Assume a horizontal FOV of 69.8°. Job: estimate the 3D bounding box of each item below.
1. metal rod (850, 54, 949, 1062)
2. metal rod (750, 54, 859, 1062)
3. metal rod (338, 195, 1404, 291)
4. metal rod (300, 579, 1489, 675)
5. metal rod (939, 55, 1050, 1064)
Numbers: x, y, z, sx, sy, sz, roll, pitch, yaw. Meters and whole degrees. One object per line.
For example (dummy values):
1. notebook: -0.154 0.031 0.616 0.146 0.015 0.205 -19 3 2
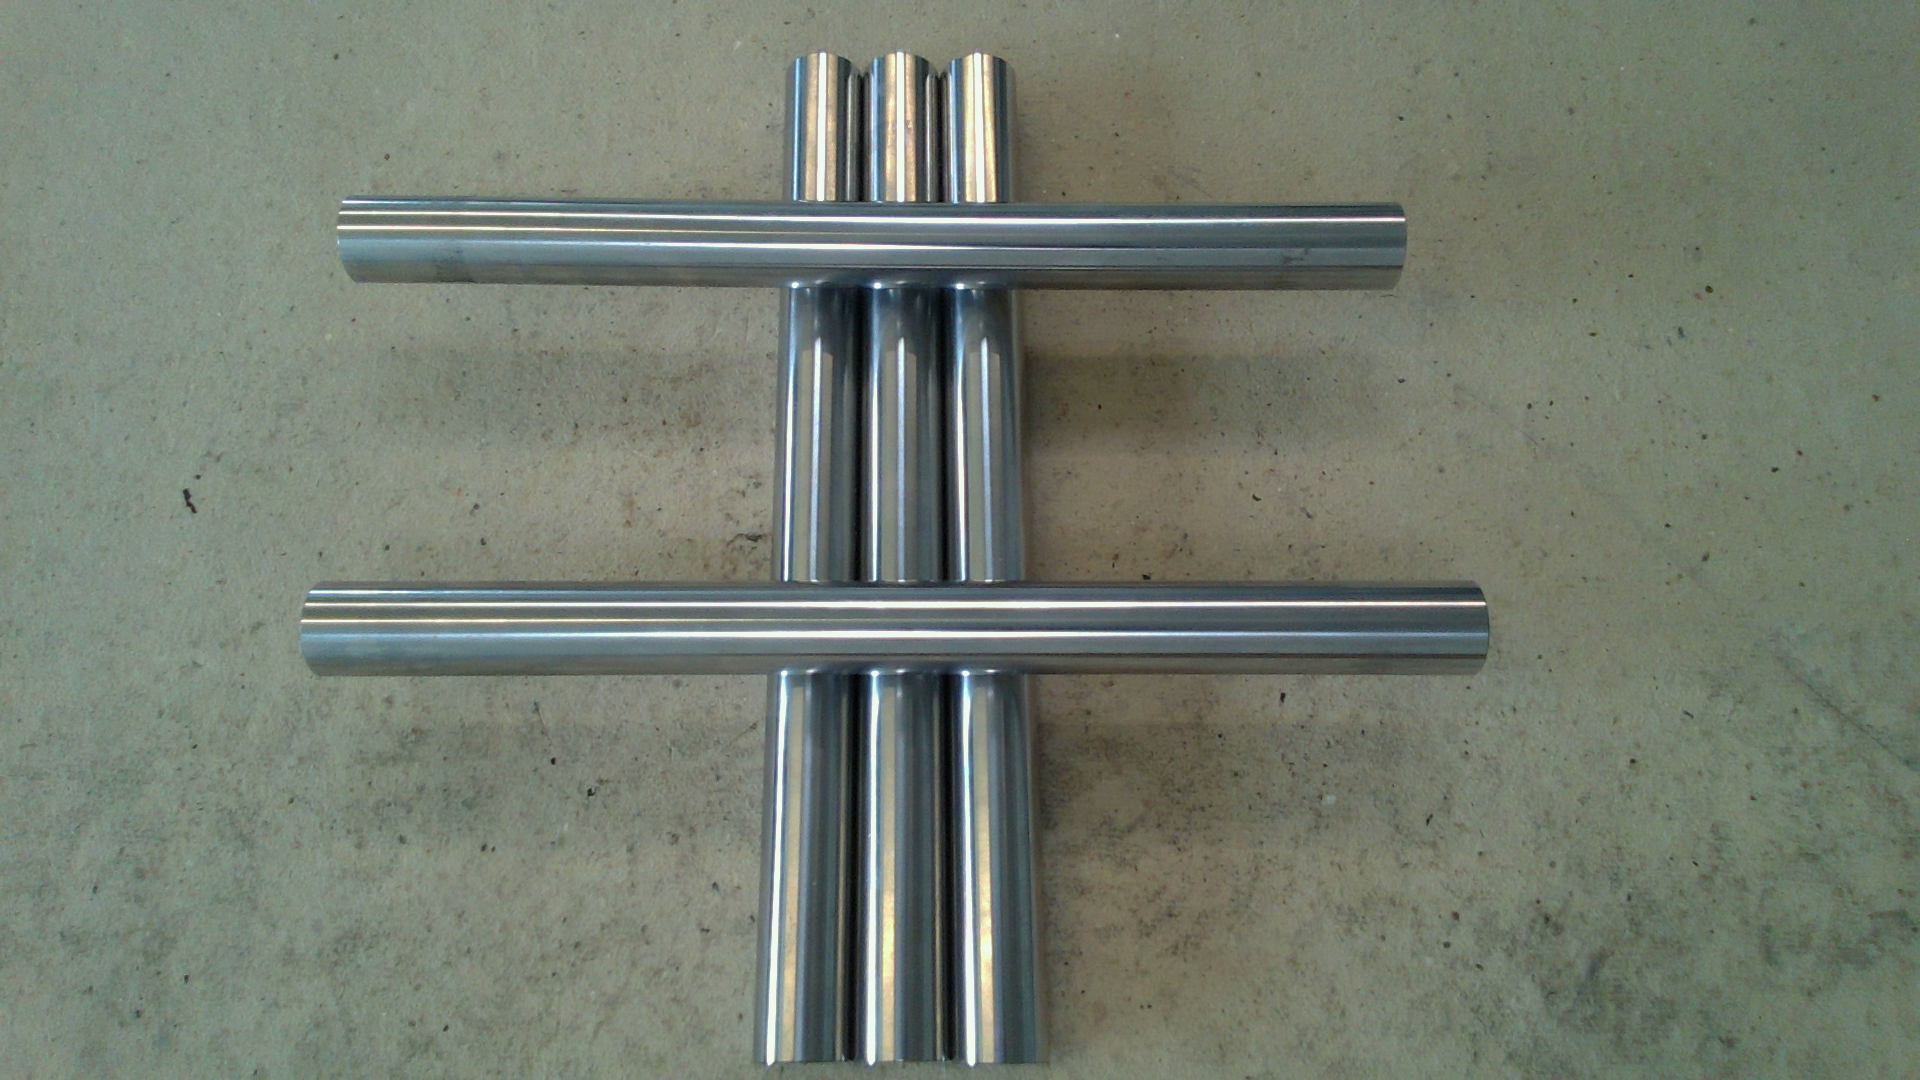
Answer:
1. metal rod: -0.018 -0.010 0.398 0.025 0.025 0.300 -1 70 0
2. metal rod: -0.043 -0.010 0.398 0.025 0.025 0.300 -1 70 0
3. metal rod: -0.025 -0.086 0.399 0.300 0.025 0.025 0 70 0
4. metal rod: -0.016 0.023 0.360 0.300 0.025 0.025 0 70 0
5. metal rod: 0.008 -0.009 0.398 0.025 0.025 0.300 -1 70 0
